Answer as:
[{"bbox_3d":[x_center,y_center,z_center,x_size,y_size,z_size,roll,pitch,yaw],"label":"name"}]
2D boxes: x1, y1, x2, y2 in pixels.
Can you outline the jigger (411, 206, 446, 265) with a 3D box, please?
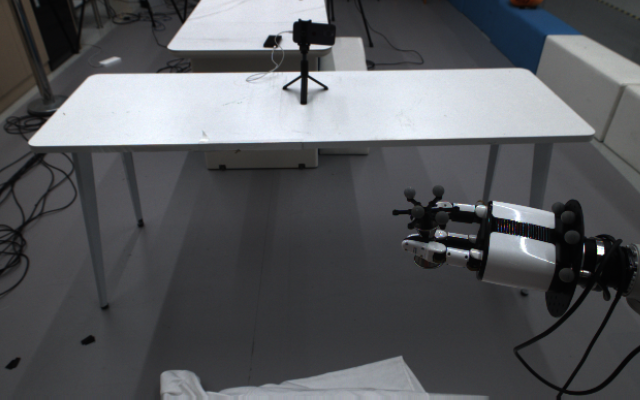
[{"bbox_3d":[0.154,0.054,0.692,0.043,0.071,0.043,-9,31,5],"label":"jigger"}]
